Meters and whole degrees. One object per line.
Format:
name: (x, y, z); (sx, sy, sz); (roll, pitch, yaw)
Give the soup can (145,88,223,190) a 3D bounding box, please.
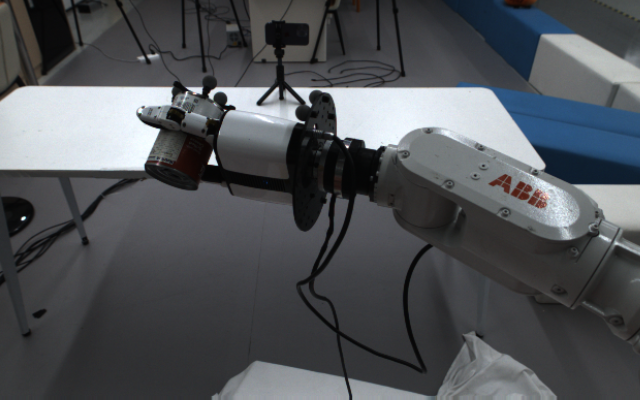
soup can: (-0.162, -0.071, 0.589); (0.067, 0.067, 0.101); (12, 70, 14)
